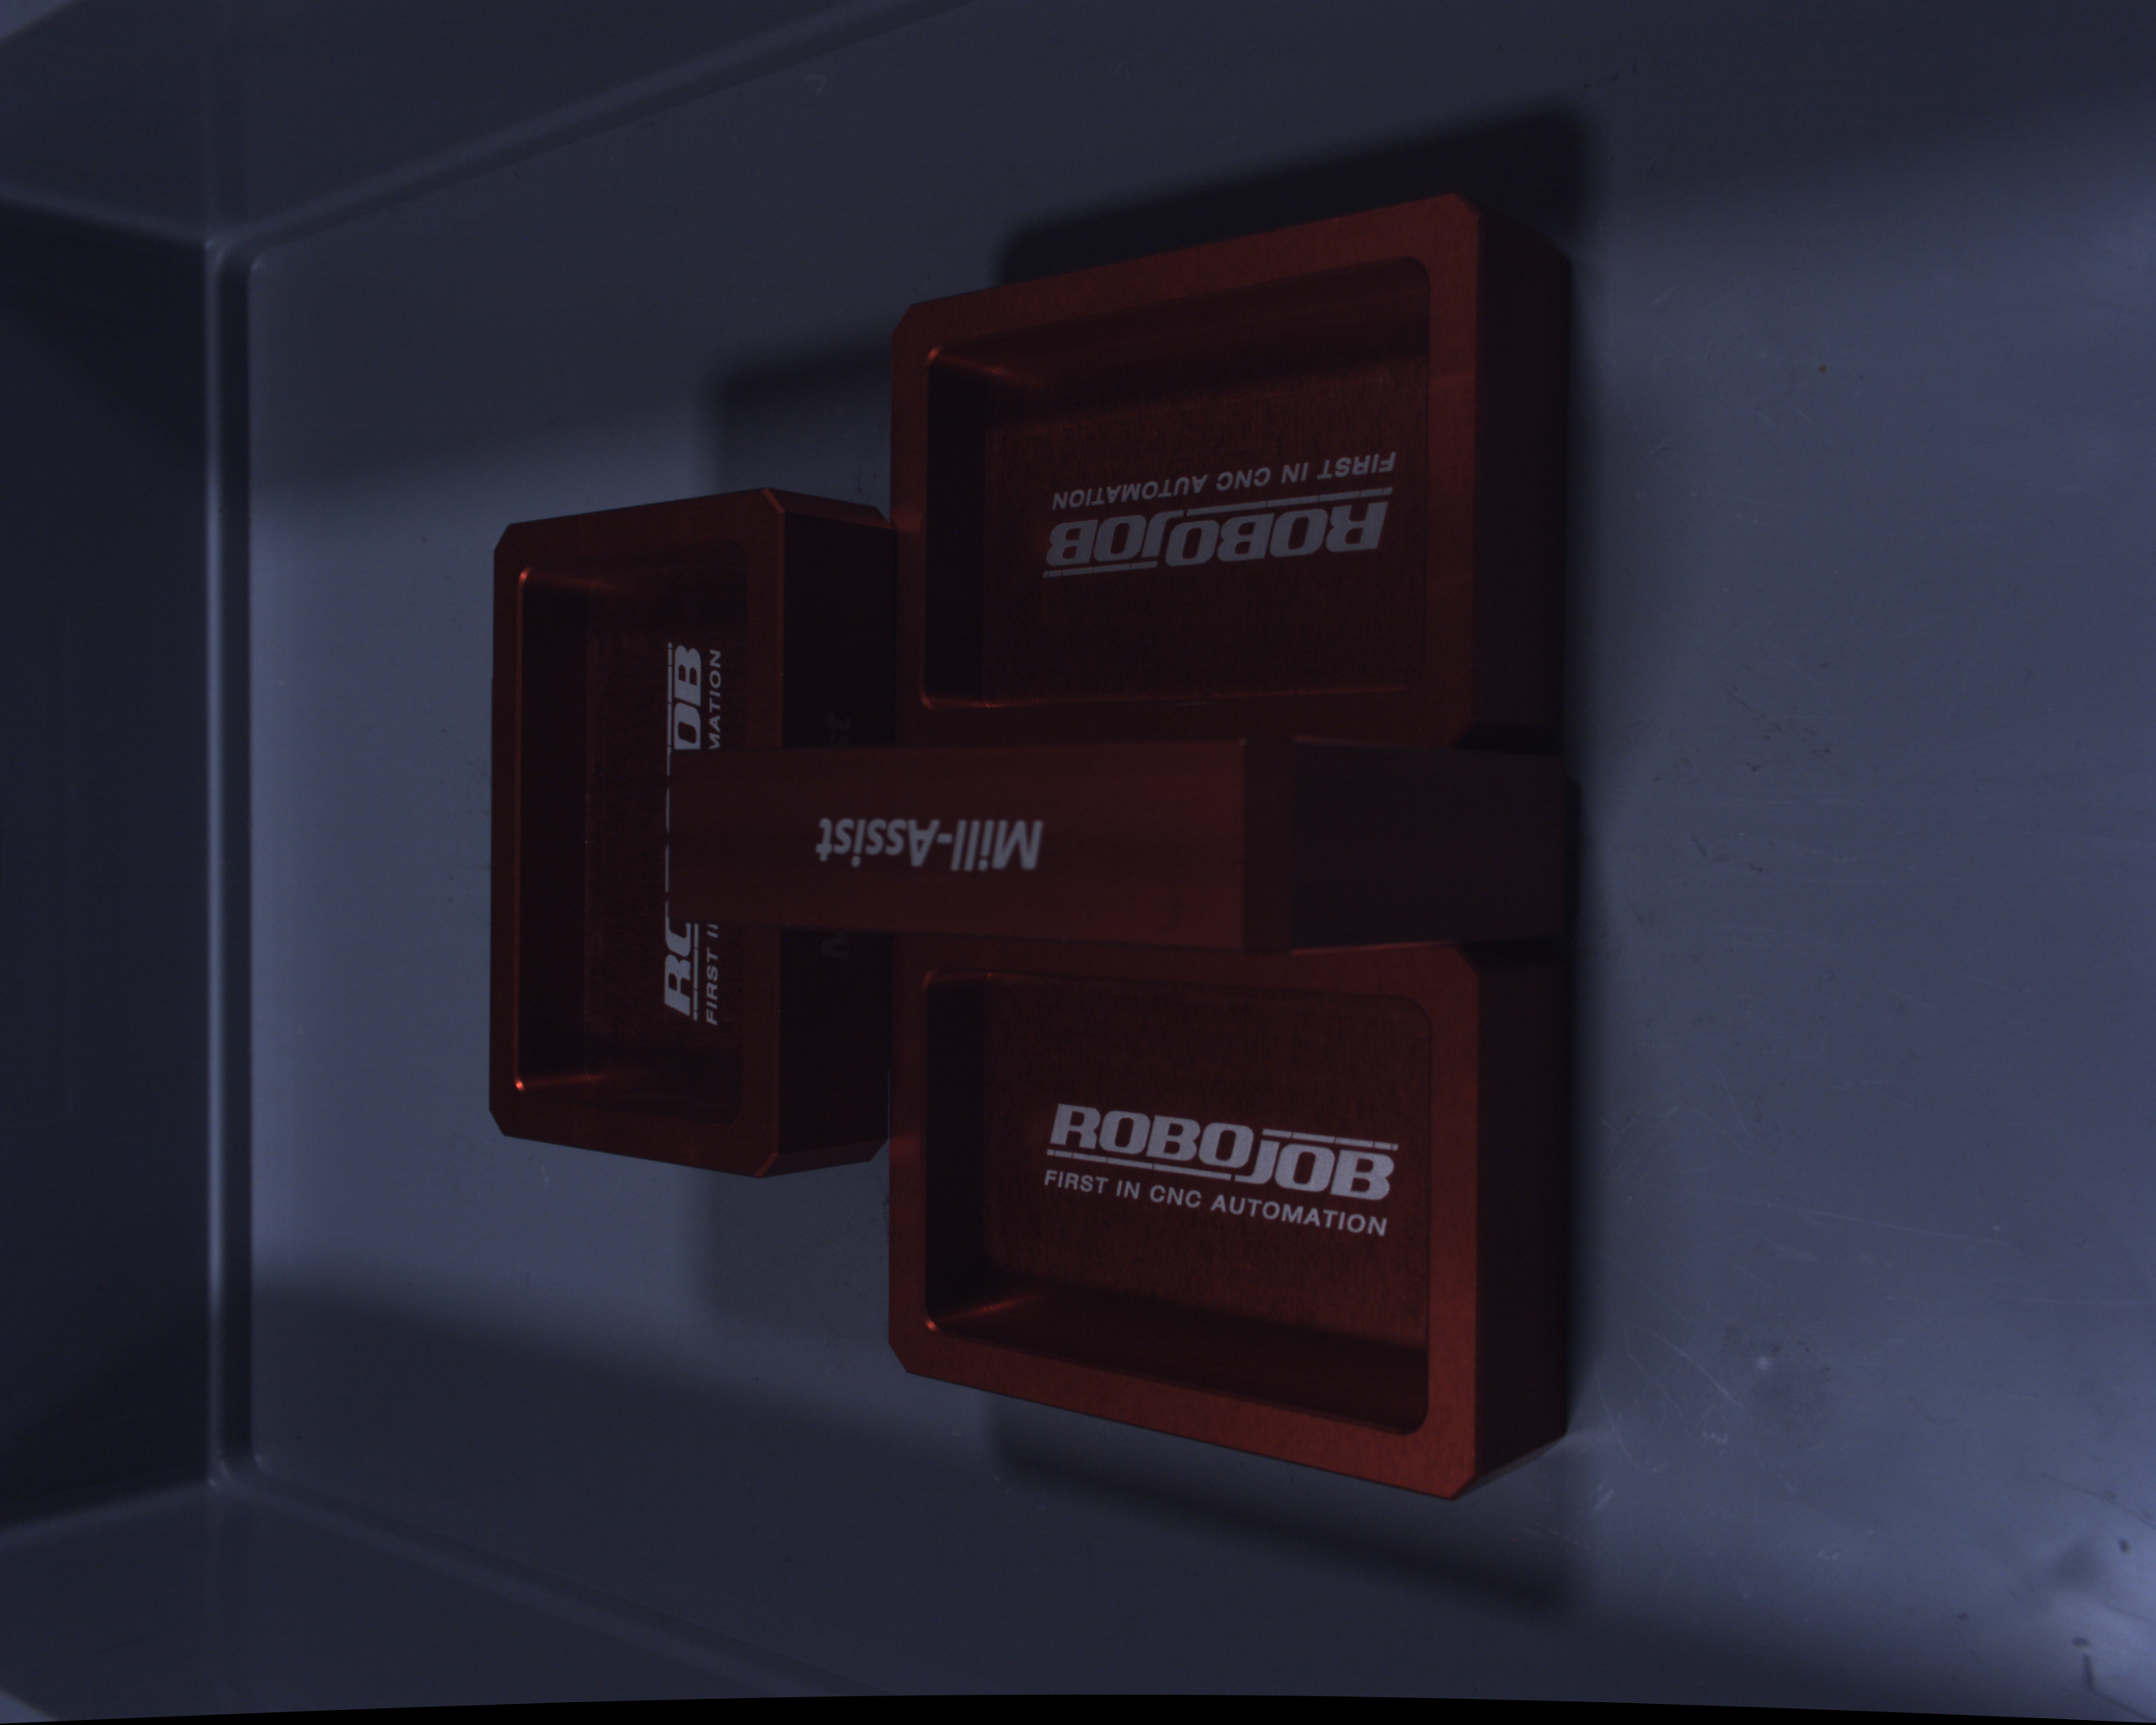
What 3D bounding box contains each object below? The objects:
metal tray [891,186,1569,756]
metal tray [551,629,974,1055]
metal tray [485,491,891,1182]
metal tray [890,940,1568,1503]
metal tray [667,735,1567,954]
[{"bbox_3d":[0.023,-0.064,0.381,0.130,0.030,0.089,1,91,39],"label":"metal tray"},{"bbox_3d":[-0.080,-0.003,0.463,0.130,0.030,0.089,1,90,39],"label":"metal tray"},{"bbox_3d":[-0.081,-0.006,0.426,0.090,0.030,0.129,2,91,39],"label":"metal tray"},{"bbox_3d":[0.023,0.056,0.381,0.130,0.030,0.089,1,91,39],"label":"metal tray"},{"bbox_3d":[0.005,-0.004,0.356,0.130,0.091,0.030,1,91,39],"label":"metal tray"}]
